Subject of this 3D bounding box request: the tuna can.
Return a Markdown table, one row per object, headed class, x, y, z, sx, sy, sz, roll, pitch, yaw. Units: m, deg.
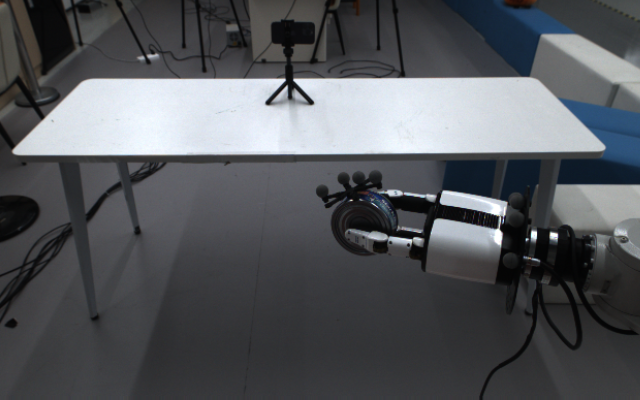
| class | x | y | z | sx | sy | sz | roll | pitch | yaw |
| --- | --- | --- | --- | --- | --- | --- | --- | --- | --- |
| tuna can | 0.063 | 0.037 | 0.644 | 0.085 | 0.085 | 0.034 | 15 | 30 | 17 |
